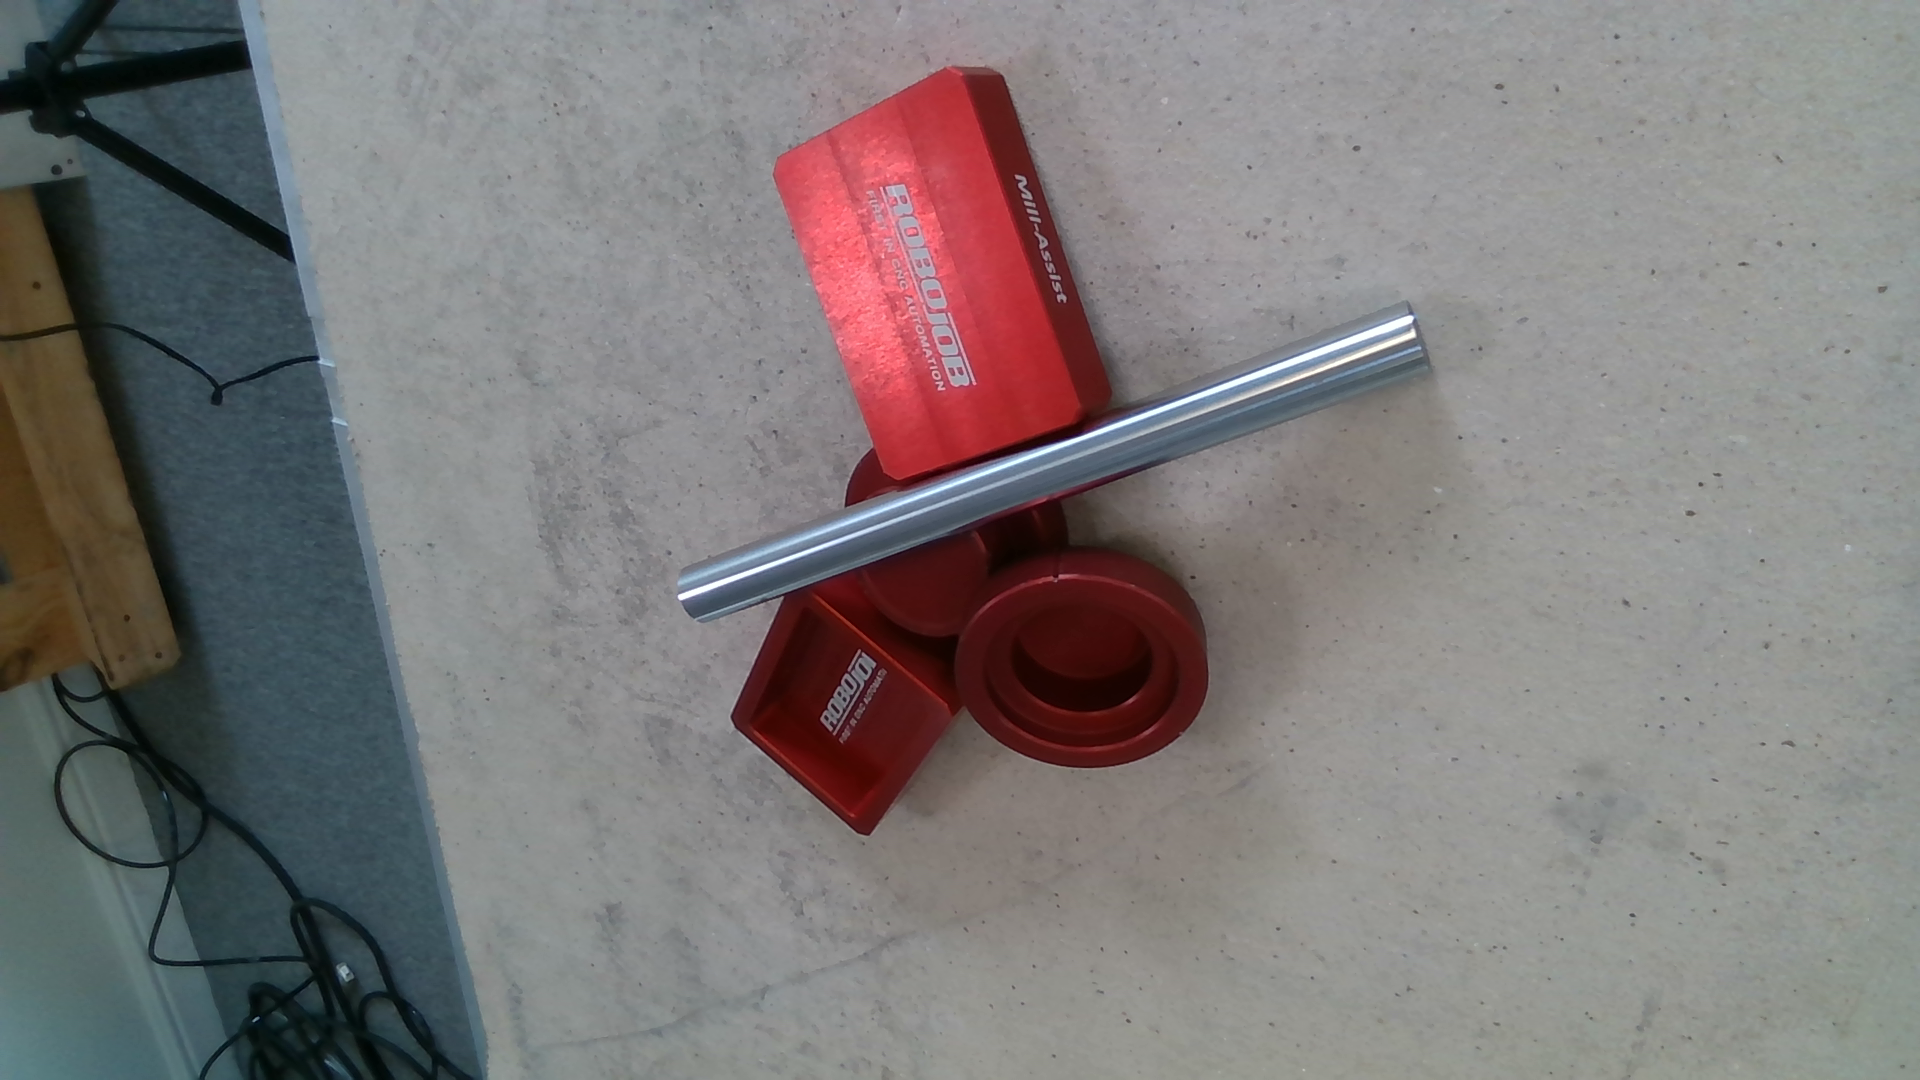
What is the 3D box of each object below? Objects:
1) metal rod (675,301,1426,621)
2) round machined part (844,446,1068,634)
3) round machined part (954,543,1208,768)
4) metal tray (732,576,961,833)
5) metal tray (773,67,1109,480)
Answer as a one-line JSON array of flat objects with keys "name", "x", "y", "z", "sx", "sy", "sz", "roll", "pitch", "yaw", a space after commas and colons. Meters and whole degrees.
[{"name": "metal rod", "x": 0.020, "y": -0.022, "z": 0.513, "sx": 0.300, "sy": 0.025, "sz": 0.025, "roll": -19, "pitch": 105, "yaw": 24}, {"name": "round machined part", "x": -0.008, "y": 0.000, "z": 0.575, "sx": 0.098, "sy": 0.042, "sz": 0.098, "roll": 14, "pitch": 122, "yaw": 25}, {"name": "round machined part", "x": 0.048, "y": 0.041, "z": 0.548, "sx": 0.098, "sy": 0.042, "sz": 0.098, "roll": 4, "pitch": 125, "yaw": 5}, {"name": "metal tray", "x": -0.050, "y": 0.072, "z": 0.633, "sx": 0.090, "sy": 0.030, "sz": 0.130, "roll": 39, "pitch": 139, "yaw": 7}, {"name": "metal tray", "x": -0.007, "y": -0.097, "z": 0.515, "sx": 0.090, "sy": 0.030, "sz": 0.130, "roll": -16, "pitch": 98, "yaw": 34}]
